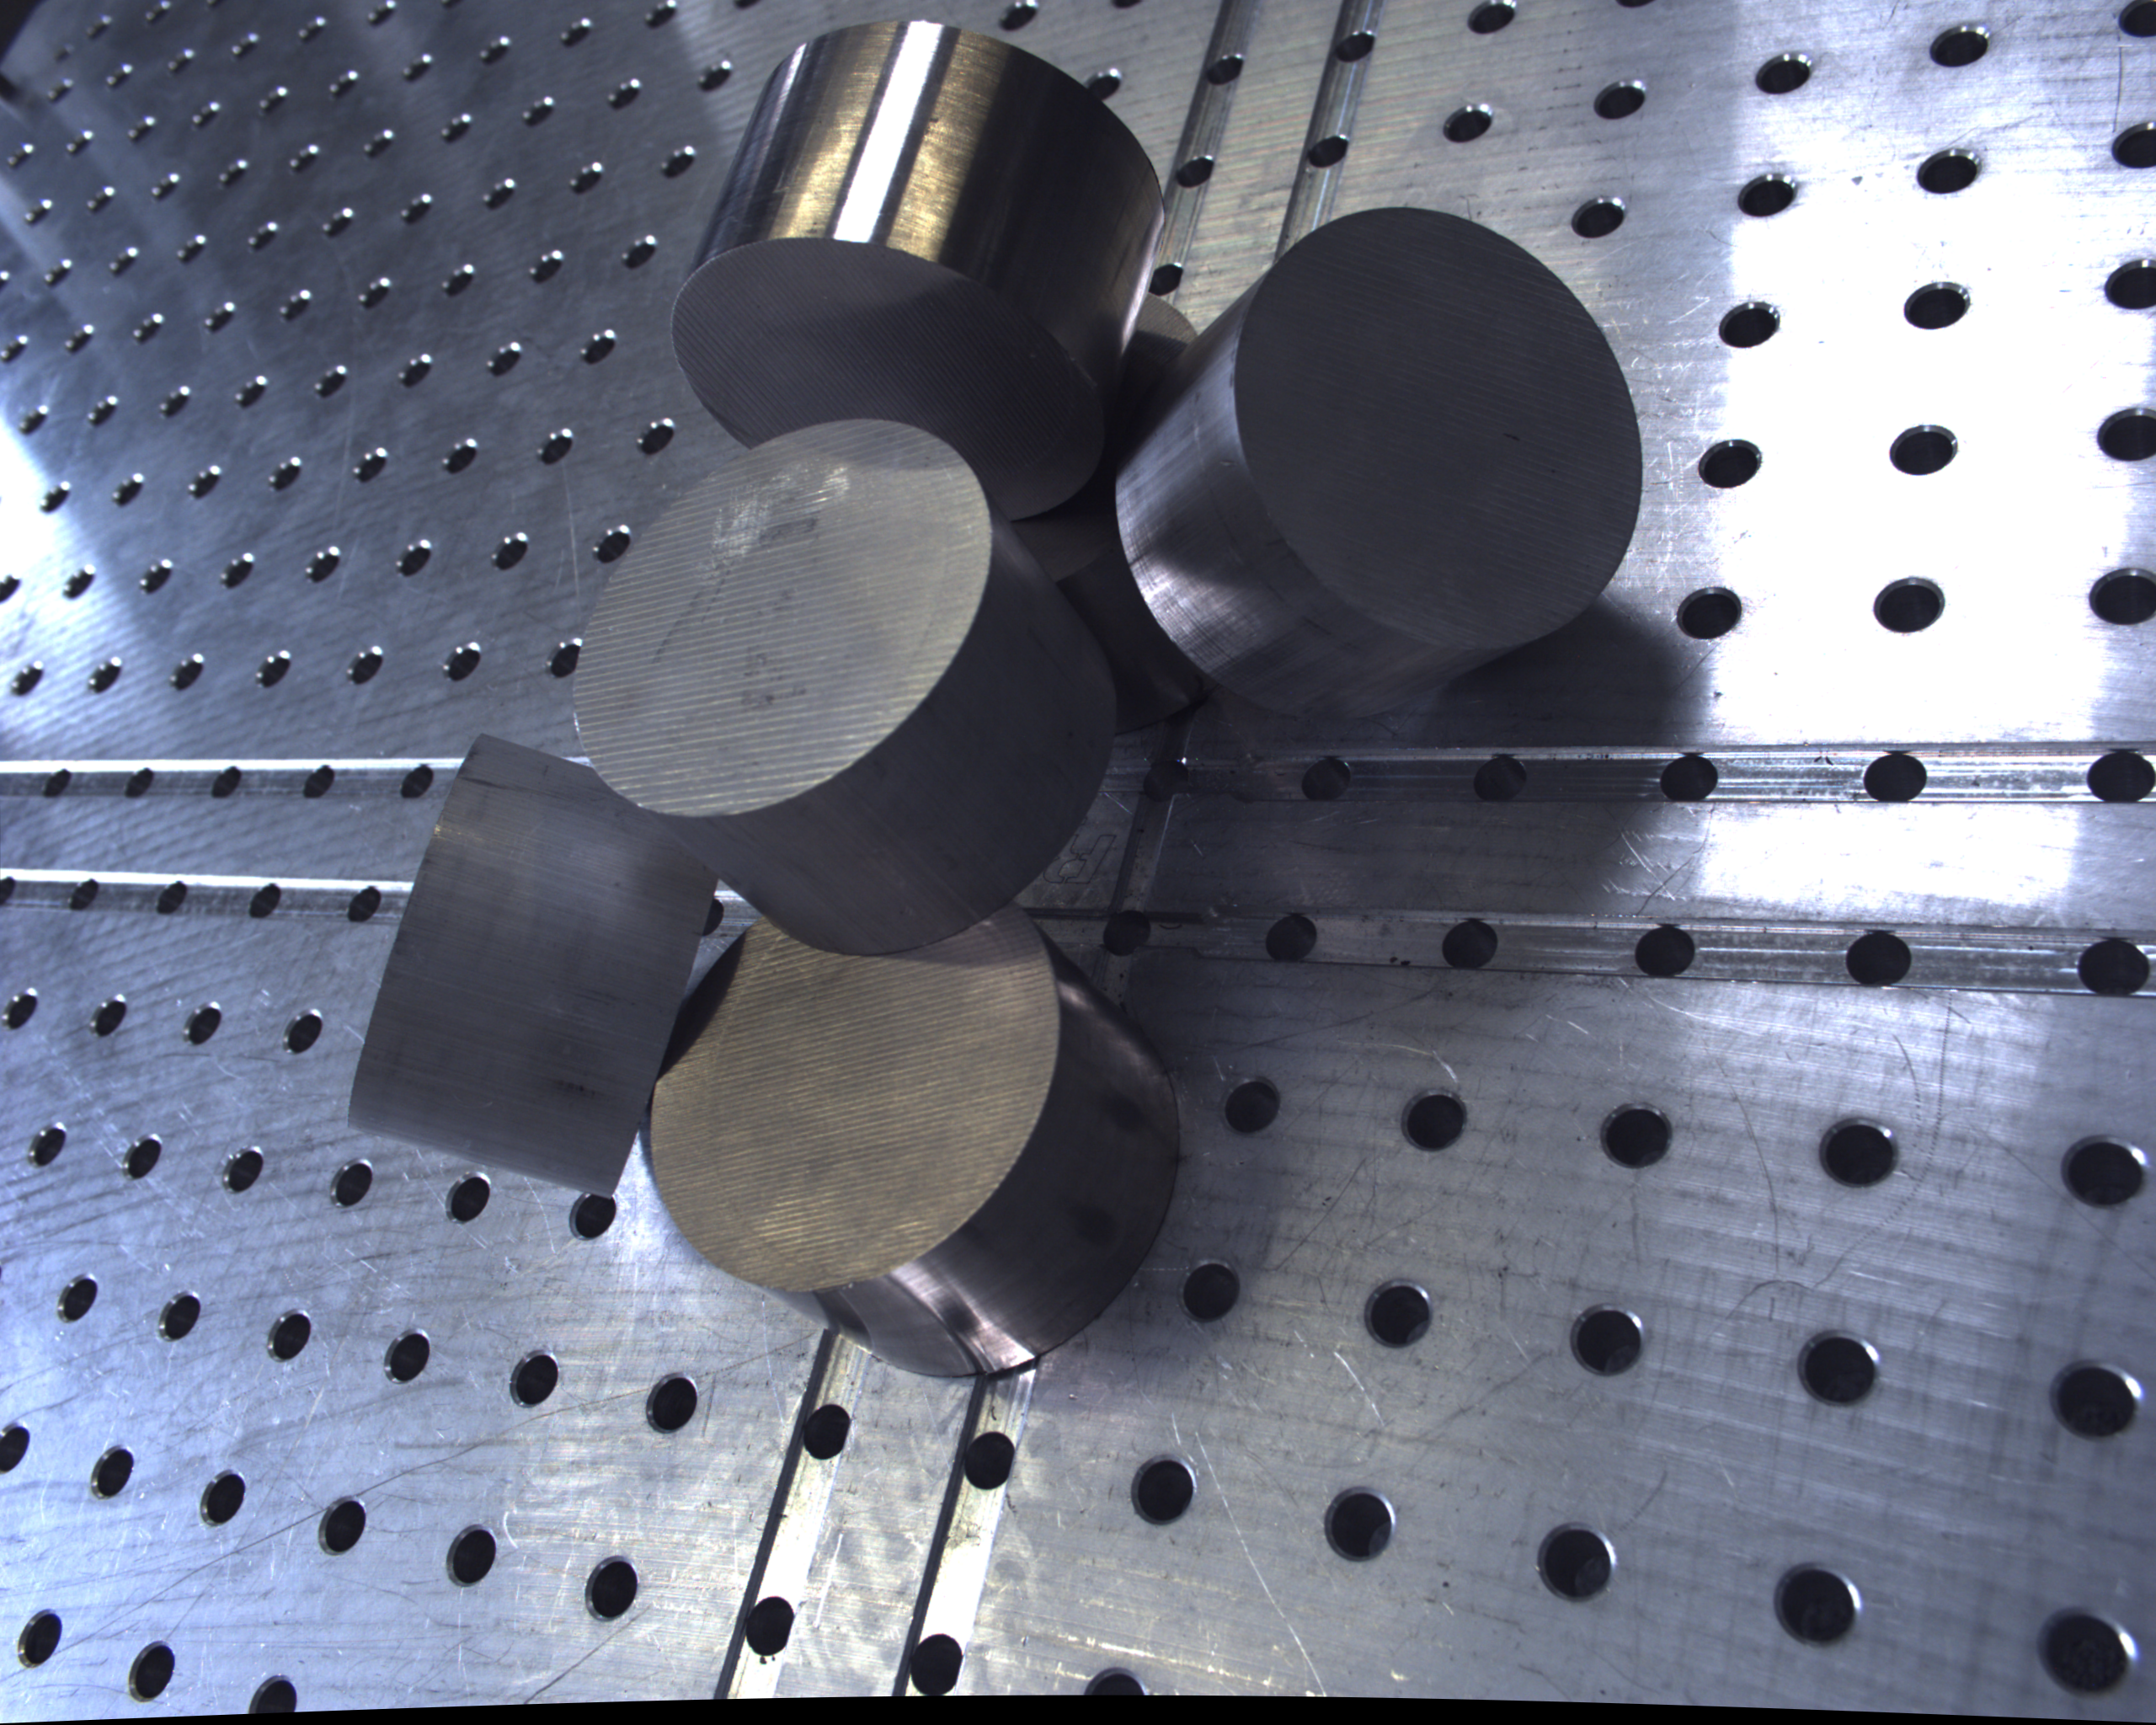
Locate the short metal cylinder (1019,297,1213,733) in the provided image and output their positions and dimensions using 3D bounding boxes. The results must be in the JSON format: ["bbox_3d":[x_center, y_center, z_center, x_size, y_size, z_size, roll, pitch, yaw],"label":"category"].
[{"bbox_3d":[-0.001,-0.073,0.437,0.080,0.050,0.080,-13,57,21],"label":"short metal cylinder"}]

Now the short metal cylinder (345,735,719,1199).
[{"bbox_3d":[-0.104,0.021,0.408,0.050,0.080,0.080,18,64,-12],"label":"short metal cylinder"}]

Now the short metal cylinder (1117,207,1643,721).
[{"bbox_3d":[0.054,-0.070,0.379,0.080,0.080,0.050,-66,15,-19],"label":"short metal cylinder"}]

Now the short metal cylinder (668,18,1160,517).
[{"bbox_3d":[-0.029,-0.107,0.388,0.080,0.080,0.050,0,62,28],"label":"short metal cylinder"}]

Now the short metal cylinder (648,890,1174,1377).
[{"bbox_3d":[-0.029,0.047,0.378,0.080,0.050,0.080,-13,57,21],"label":"short metal cylinder"}]

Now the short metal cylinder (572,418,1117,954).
[{"bbox_3d":[-0.040,-0.031,0.367,0.080,0.050,0.080,-13,56,21],"label":"short metal cylinder"}]
